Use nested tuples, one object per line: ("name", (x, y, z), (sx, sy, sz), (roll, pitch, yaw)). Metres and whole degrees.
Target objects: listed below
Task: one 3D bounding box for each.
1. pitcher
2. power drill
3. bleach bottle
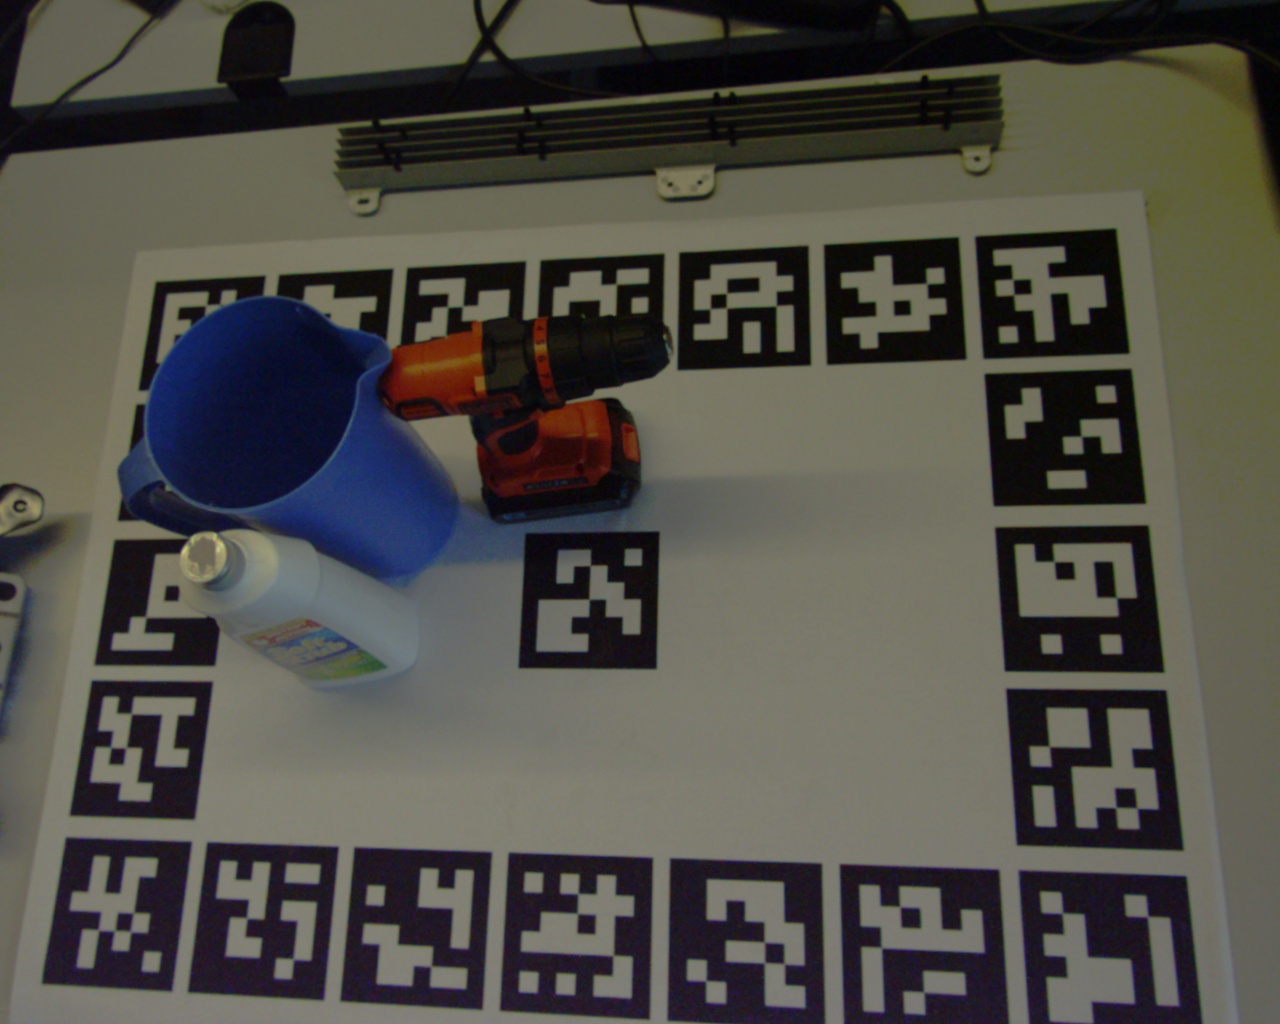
("pitcher", (-0.227, -0.030, 0.791), (0.189, 0.241, 0.134), (-27, 74, 2))
("power drill", (-0.059, -0.048, 0.776), (0.185, 0.186, 0.057), (-5, 77, 2))
("bleach bottle", (-0.243, 0.064, 0.747), (0.103, 0.249, 0.068), (-8, 74, 7))
